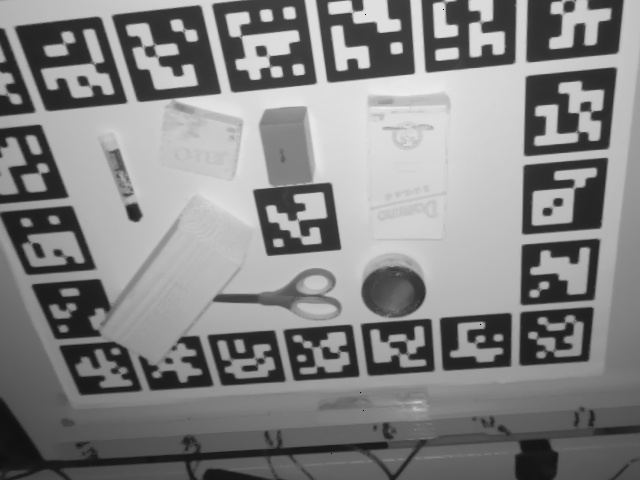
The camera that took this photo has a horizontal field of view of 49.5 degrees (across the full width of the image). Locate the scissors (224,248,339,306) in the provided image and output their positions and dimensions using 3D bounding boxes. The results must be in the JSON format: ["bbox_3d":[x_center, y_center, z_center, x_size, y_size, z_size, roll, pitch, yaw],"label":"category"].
[{"bbox_3d":[-0.074,0.049,0.935,0.203,0.016,0.087,2,118,-1],"label":"scissors"}]

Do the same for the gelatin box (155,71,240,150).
[{"bbox_3d":[-0.145,-0.152,0.821,0.090,0.030,0.072,13,118,-5],"label":"gelatin box"}]

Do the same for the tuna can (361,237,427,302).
[{"bbox_3d":[0.096,0.036,0.908,0.086,0.034,0.085,1,118,2],"label":"tuna can"}]

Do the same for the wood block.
[{"bbox_3d":[-0.199,0.018,0.884,0.090,0.092,0.203,35,115,-16],"label":"wood block"}]

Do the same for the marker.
[{"bbox_3d":[-0.249,-0.112,0.851,0.019,0.020,0.120,-3,116,5],"label":"marker"}]

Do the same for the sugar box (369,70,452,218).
[{"bbox_3d":[0.104,-0.112,0.825,0.093,0.046,0.175,0,118,3],"label":"sugar box"}]

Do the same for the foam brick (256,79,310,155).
[{"bbox_3d":[-0.042,-0.144,0.804,0.053,0.052,0.077,-2,118,4],"label":"foam brick"}]
